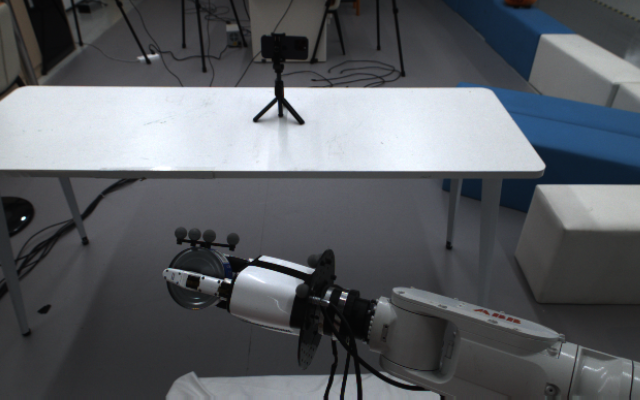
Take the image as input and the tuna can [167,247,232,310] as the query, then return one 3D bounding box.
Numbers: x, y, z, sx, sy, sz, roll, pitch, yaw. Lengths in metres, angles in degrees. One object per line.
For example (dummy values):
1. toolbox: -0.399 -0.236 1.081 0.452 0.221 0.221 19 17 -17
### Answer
1. tuna can: -0.165 0.108 0.672 0.085 0.085 0.034 12 -6 13
